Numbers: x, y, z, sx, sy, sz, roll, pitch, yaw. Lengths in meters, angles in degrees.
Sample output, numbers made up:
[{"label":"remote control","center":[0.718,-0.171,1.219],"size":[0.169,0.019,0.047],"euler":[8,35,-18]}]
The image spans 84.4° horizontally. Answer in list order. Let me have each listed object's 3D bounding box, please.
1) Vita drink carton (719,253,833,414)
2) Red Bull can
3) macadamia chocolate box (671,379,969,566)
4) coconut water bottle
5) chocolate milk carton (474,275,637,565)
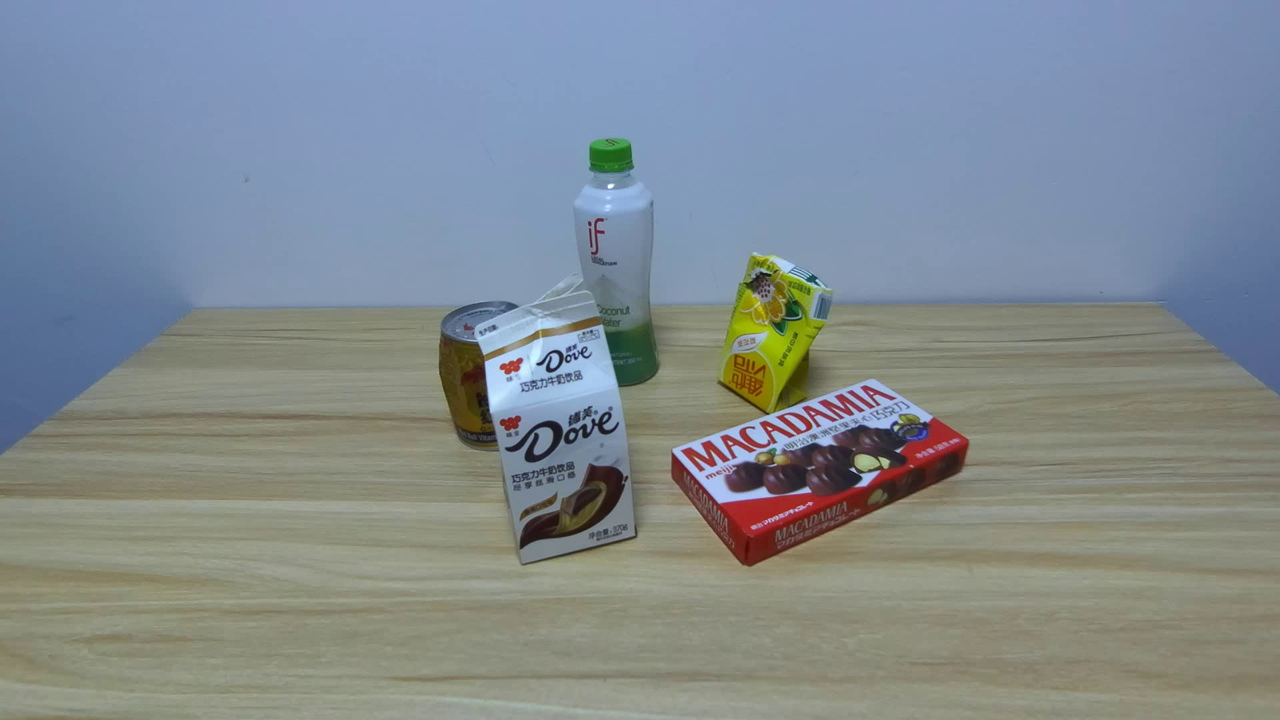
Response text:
[{"label":"Vita drink carton","center":[0.105,-0.021,0.540],"size":[0.042,0.108,0.086],"euler":[-8,31,-38]},{"label":"Red Bull can","center":[-0.113,0.013,0.537],"size":[0.072,0.092,0.072],"euler":[0,28,0]},{"label":"macadamia chocolate box","center":[0.119,0.067,0.470],"size":[0.178,0.027,0.095],"euler":[-16,33,-22]},{"label":"coconut water bottle","center":[-0.018,-0.073,0.553],"size":[0.063,0.189,0.063],"euler":[-2,29,1]},{"label":"chocolate milk carton","center":[-0.048,0.031,0.414],"size":[0.076,0.156,0.073],"euler":[-10,31,-13]}]
